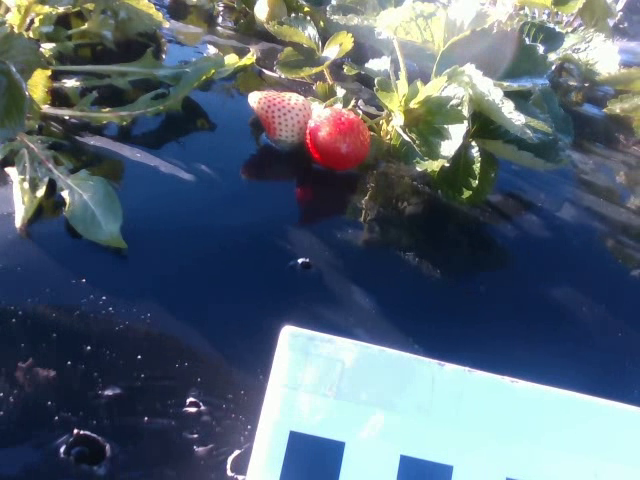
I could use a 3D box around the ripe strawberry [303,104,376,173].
[{"bbox_3d":[0.008,-0.057,0.319,0.040,0.038,0.055,-10,-11,16],"label":"ripe strawberry"}]
